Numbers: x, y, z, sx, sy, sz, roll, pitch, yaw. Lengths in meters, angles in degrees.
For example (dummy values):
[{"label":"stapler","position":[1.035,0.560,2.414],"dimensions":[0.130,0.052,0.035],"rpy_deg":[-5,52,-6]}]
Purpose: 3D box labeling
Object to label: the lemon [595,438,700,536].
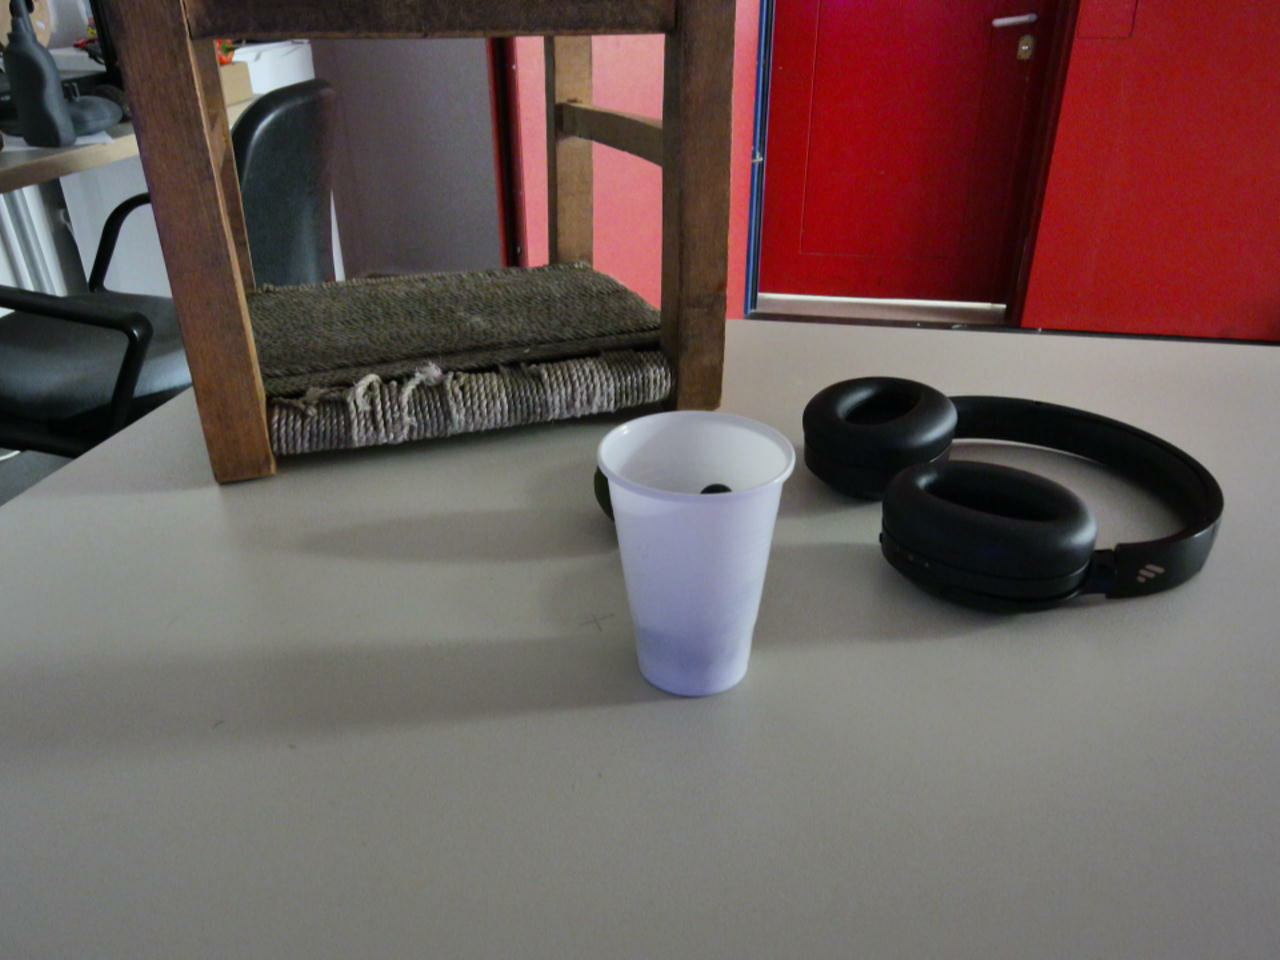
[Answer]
[{"label":"lemon","position":[0.004,0.003,0.542],"dimensions":[0.057,0.051,0.054],"rpy_deg":[2,26,8]}]
